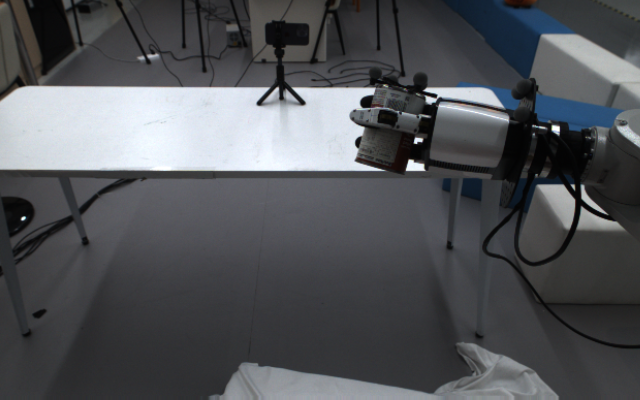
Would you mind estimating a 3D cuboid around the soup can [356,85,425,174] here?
[{"bbox_3d":[0.093,-0.090,0.626,0.067,0.101,0.067,15,7,-2],"label":"soup can"}]
